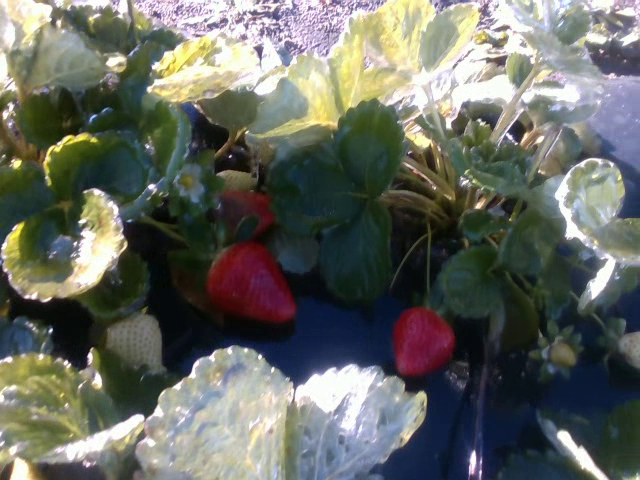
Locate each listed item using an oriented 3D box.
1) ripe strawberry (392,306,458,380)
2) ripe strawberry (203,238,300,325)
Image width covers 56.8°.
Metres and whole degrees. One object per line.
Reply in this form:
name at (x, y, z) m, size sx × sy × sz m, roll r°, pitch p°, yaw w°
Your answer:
ripe strawberry at (0.054, 0.055, 0.308) m, size 0.039 × 0.047 × 0.040 m, roll 34°, pitch -31°, yaw 3°
ripe strawberry at (-0.034, 0.024, 0.318) m, size 0.044 × 0.056 × 0.040 m, roll -44°, pitch -7°, yaw -20°
